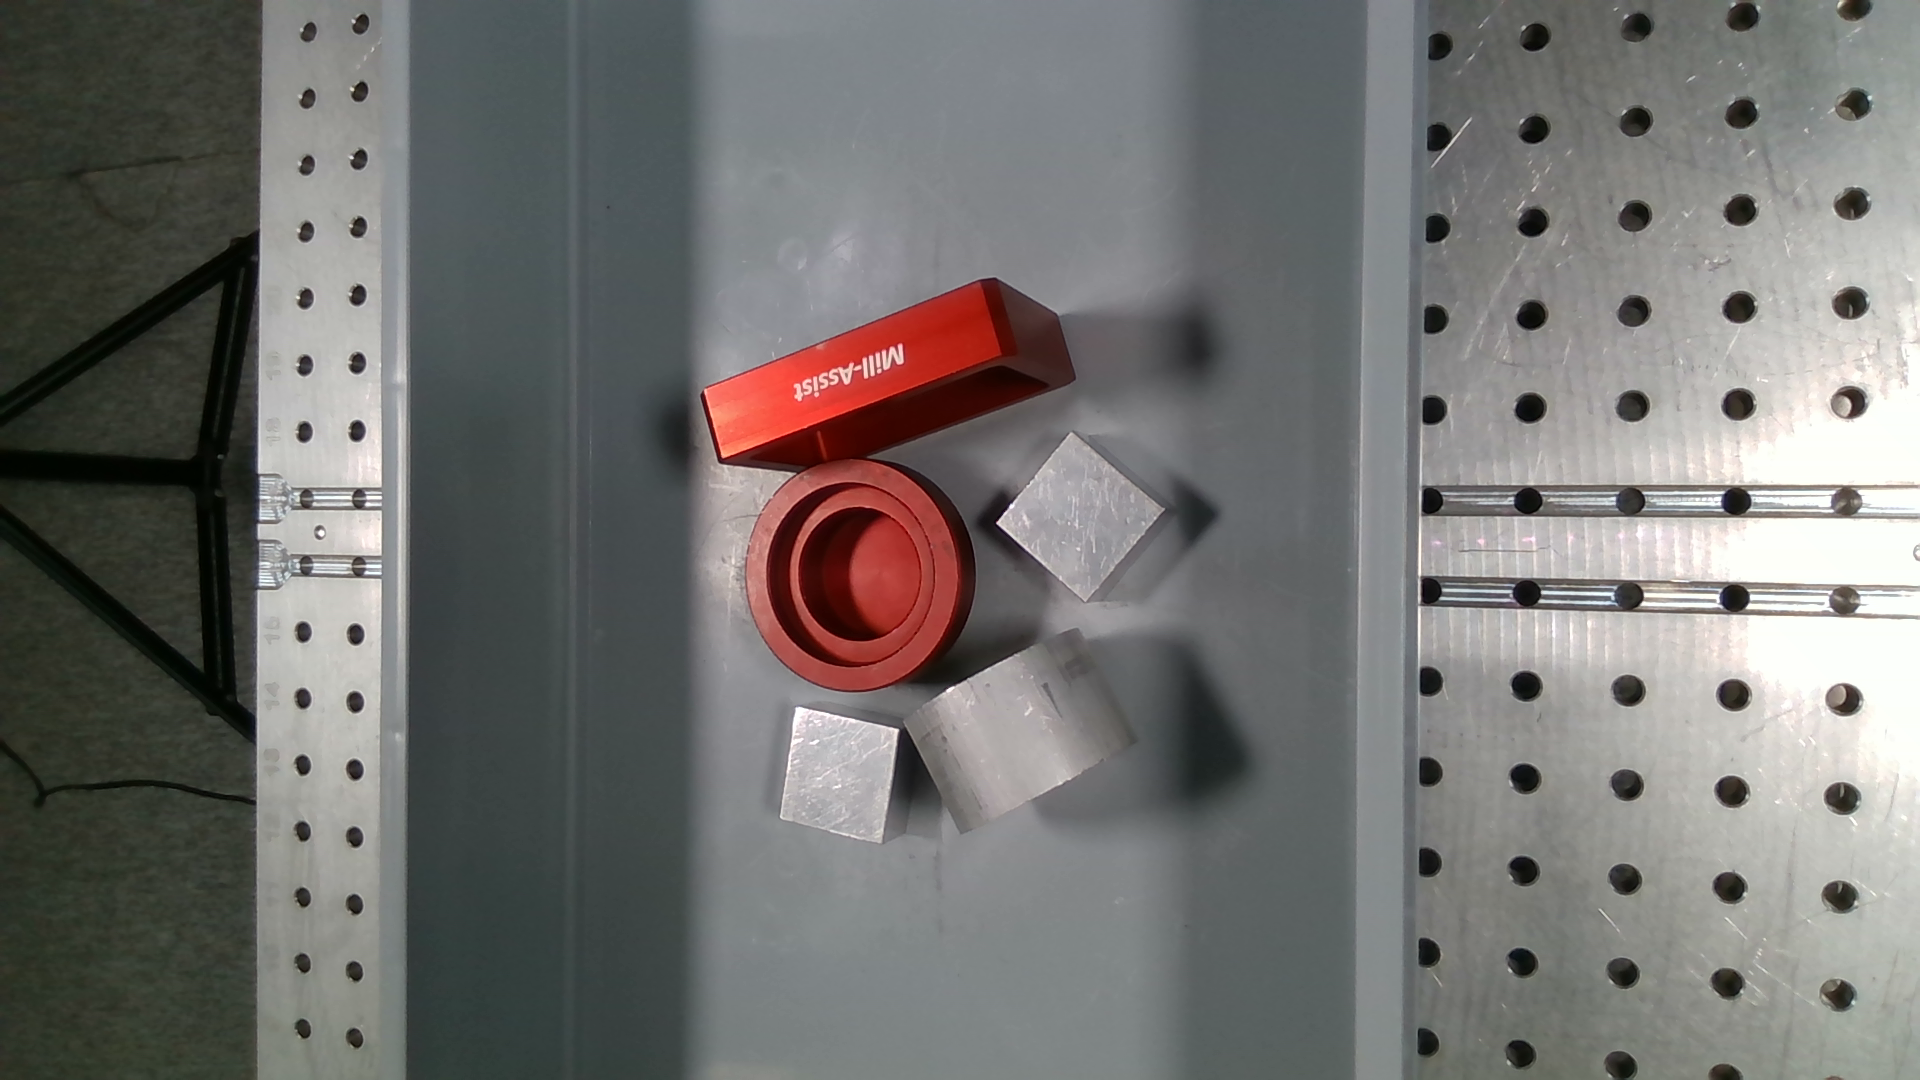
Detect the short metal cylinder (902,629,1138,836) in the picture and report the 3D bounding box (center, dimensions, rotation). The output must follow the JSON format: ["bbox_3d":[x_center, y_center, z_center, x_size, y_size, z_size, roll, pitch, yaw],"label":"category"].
[{"bbox_3d":[0.024,0.076,0.547,0.080,0.080,0.050,-31,80,18],"label":"short metal cylinder"}]

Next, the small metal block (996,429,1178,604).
[{"bbox_3d":[0.052,-0.009,0.565,0.050,0.025,0.050,42,103,16],"label":"small metal block"}]

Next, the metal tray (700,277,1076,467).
[{"bbox_3d":[-0.028,-0.063,0.559,0.130,0.090,0.030,-18,84,19],"label":"metal tray"}]

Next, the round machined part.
[{"bbox_3d":[-0.040,0.014,0.588,0.098,0.042,0.098,0,91,20],"label":"round machined part"}]

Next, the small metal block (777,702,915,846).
[{"bbox_3d":[-0.048,0.101,0.603,0.050,0.025,0.050,10,92,19],"label":"small metal block"}]
